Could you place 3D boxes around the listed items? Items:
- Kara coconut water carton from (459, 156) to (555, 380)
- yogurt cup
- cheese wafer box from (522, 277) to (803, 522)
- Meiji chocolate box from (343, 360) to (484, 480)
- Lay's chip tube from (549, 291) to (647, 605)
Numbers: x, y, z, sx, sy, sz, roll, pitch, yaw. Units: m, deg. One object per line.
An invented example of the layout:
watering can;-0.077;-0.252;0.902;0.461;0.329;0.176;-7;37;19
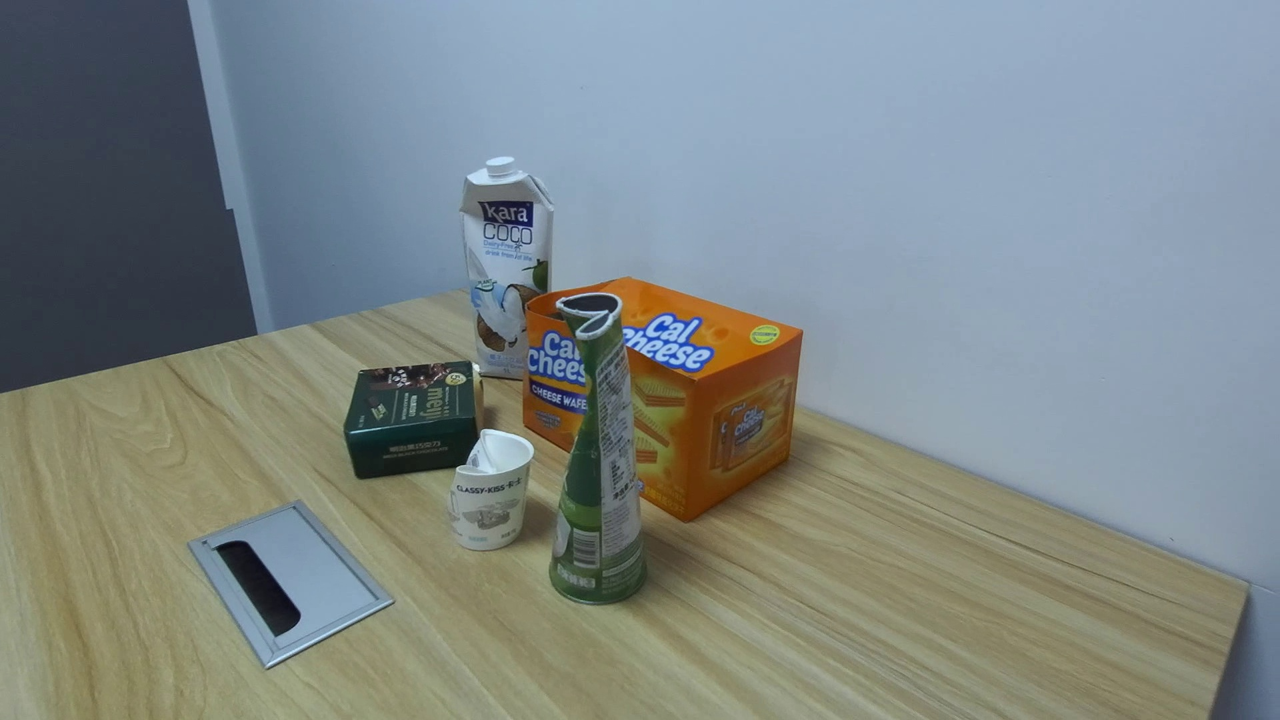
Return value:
Kara coconut water carton;-0.141;-0.099;0.769;0.115;0.238;0.069;7;30;10
yogurt cup;-0.112;0.099;0.531;0.067;0.070;0.067;1;23;0
cheese wafer box;0.008;0.022;0.636;0.229;0.132;0.153;24;32;39
Meiji chocolate box;-0.205;0.054;0.655;0.123;0.058;0.115;-5;28;-12
Lay's chip tube;-0.027;0.058;0.460;0.069;0.201;0.077;-19;29;-38
